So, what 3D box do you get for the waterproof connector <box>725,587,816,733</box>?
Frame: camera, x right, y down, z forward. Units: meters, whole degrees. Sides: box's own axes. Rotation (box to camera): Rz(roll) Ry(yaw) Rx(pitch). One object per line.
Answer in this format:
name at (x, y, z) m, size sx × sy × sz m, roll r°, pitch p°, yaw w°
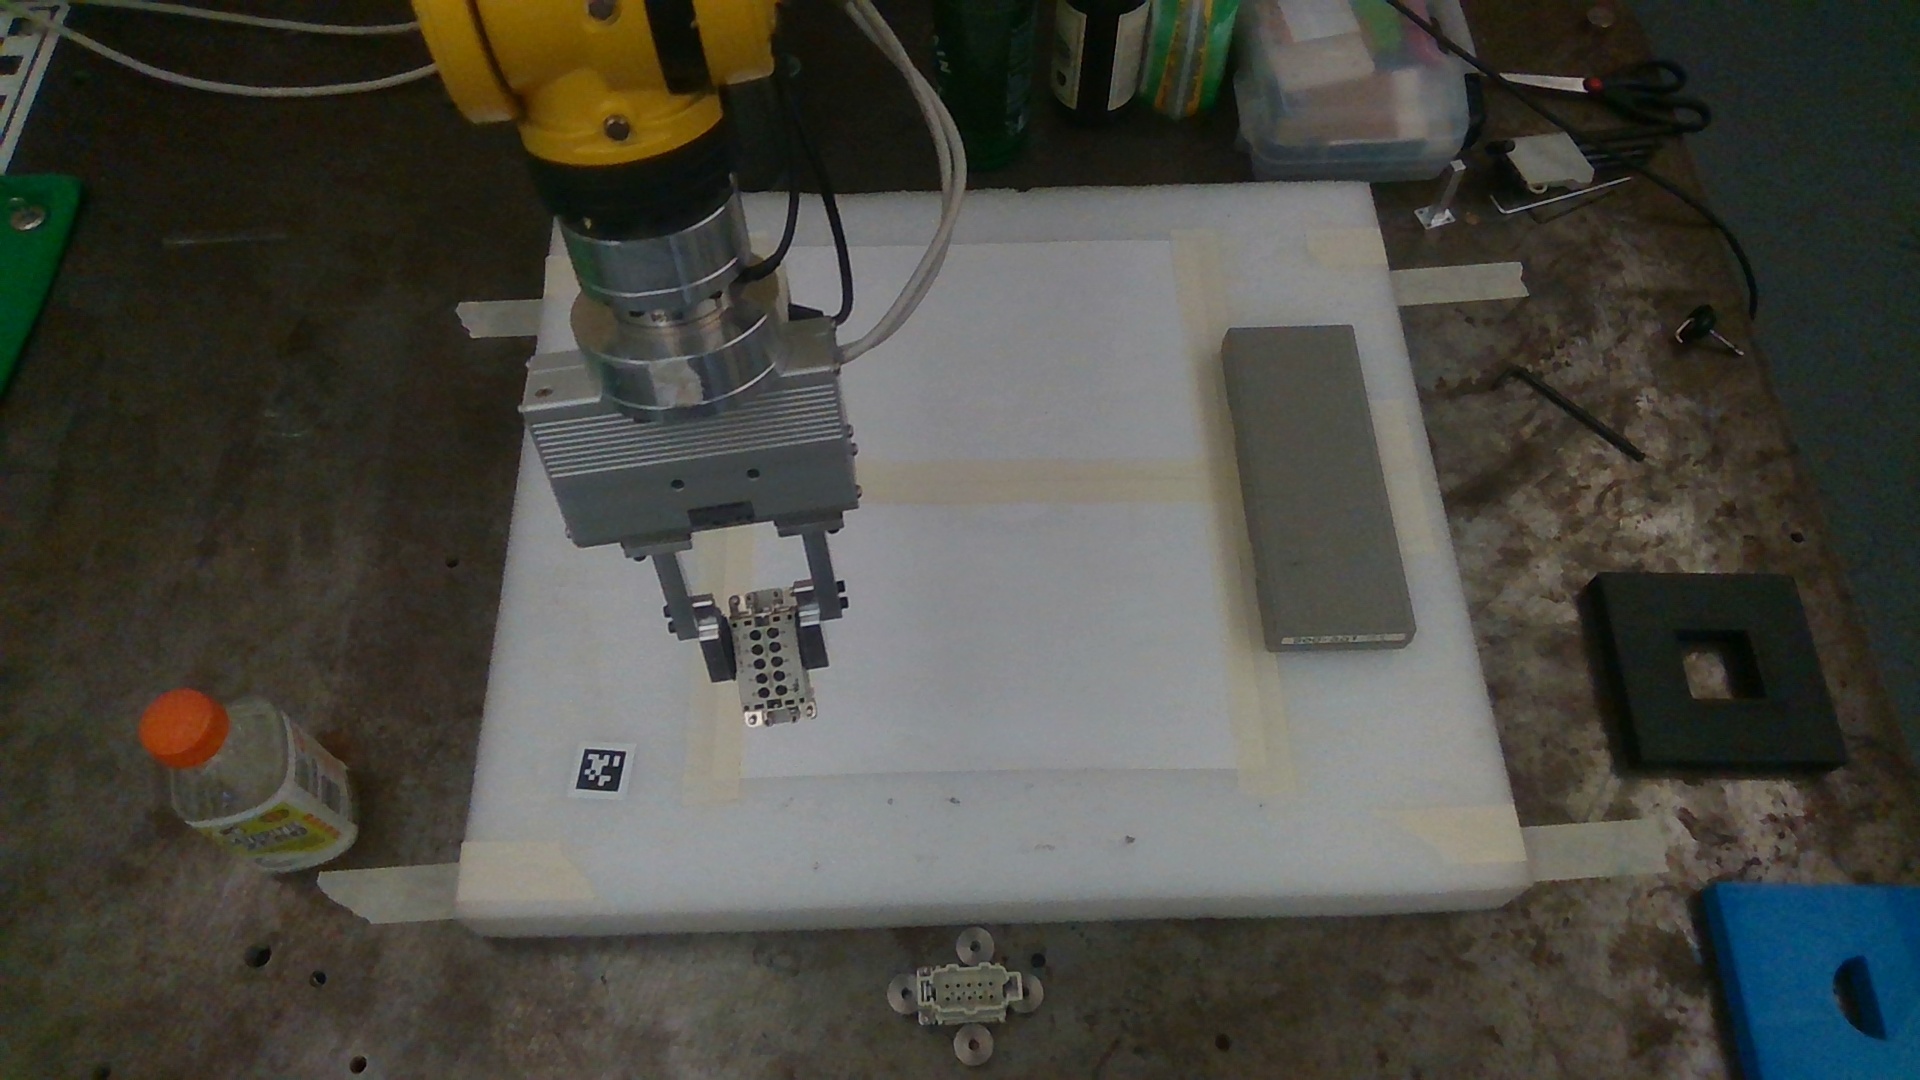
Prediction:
waterproof connector at (-0.092, 0.058, 0.674) m, size 0.037 × 0.038 × 0.069 m, roll -8°, pitch 91°, yaw -2°
